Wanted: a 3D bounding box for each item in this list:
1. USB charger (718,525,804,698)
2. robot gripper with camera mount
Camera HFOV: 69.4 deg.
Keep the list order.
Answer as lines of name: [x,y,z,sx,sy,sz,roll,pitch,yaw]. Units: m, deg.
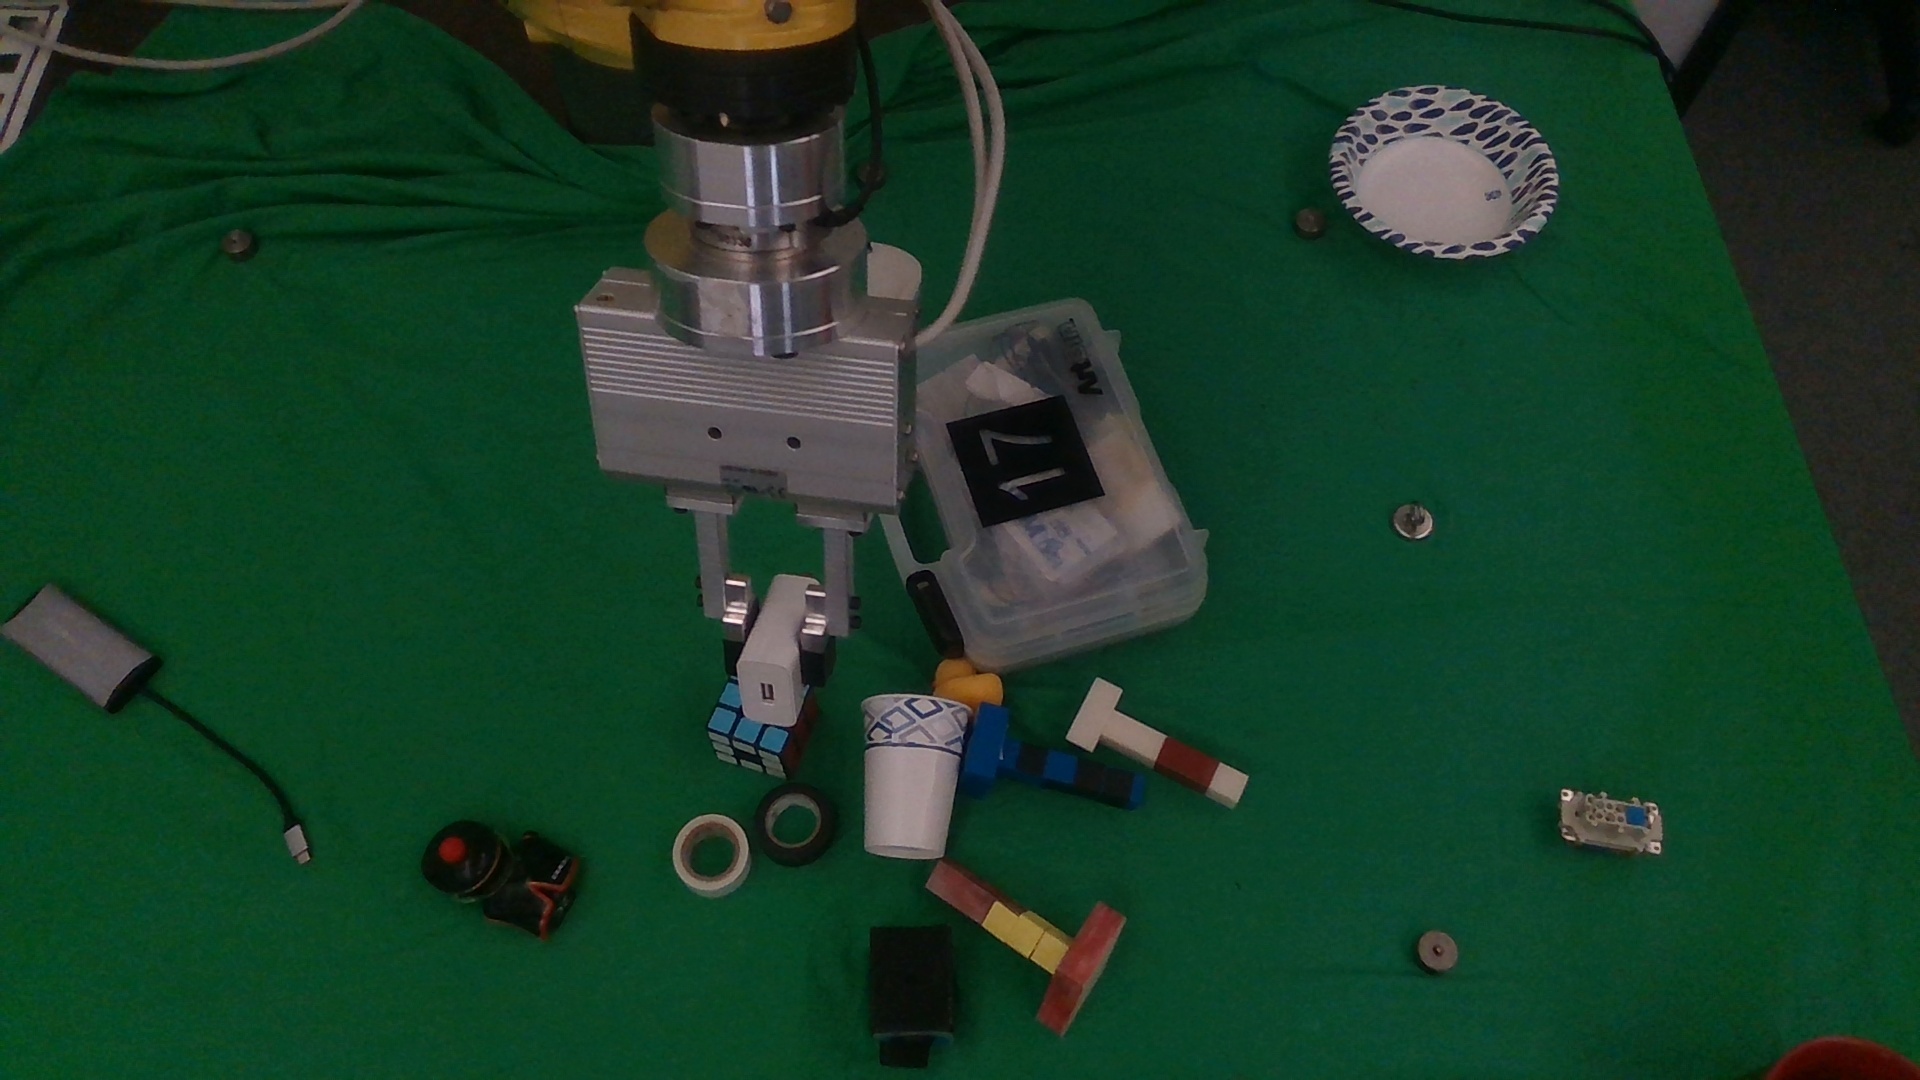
USB charger: [-0.079,0.026,0.577,0.029,0.044,0.075,10,47,-1]
robot gripper with camera mount: [-0.062,-0.060,0.585,0.119,0.158,0.193,11,37,9]
